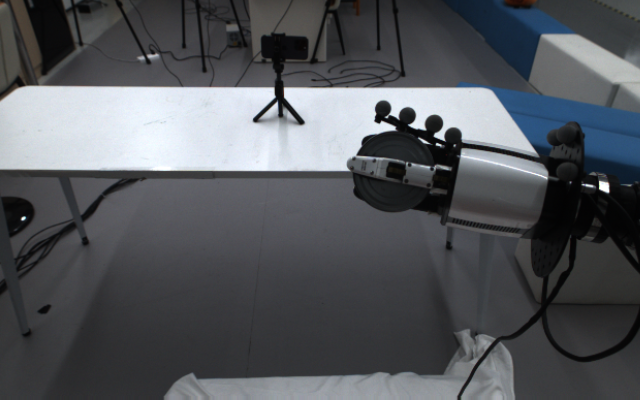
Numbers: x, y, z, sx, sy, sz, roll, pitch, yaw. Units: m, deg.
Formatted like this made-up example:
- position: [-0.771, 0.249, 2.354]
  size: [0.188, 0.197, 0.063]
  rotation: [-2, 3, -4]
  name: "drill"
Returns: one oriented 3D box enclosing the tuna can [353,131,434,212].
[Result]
- position: [0.083, -0.032, 0.521]
  size: [0.085, 0.085, 0.034]
  rotation: [13, 3, 15]
  name: "tuna can"
